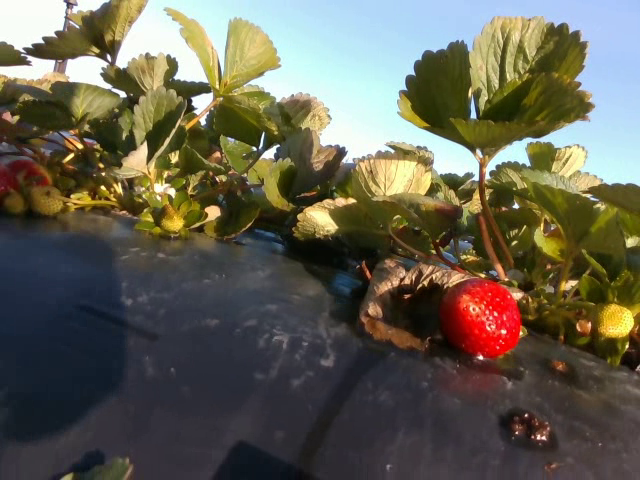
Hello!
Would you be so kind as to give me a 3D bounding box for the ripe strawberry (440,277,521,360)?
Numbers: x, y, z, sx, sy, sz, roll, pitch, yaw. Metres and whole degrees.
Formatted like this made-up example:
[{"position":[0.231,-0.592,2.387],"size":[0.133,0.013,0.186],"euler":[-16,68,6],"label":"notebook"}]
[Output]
[{"position":[0.060,0.030,0.246],"size":[0.046,0.038,0.054],"euler":[38,11,34],"label":"ripe strawberry"}]
